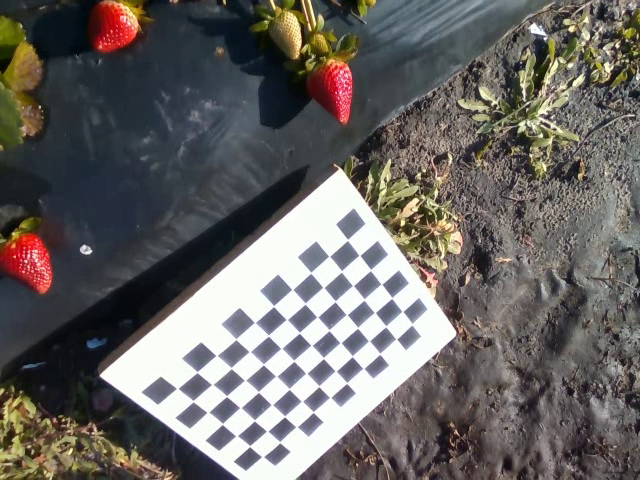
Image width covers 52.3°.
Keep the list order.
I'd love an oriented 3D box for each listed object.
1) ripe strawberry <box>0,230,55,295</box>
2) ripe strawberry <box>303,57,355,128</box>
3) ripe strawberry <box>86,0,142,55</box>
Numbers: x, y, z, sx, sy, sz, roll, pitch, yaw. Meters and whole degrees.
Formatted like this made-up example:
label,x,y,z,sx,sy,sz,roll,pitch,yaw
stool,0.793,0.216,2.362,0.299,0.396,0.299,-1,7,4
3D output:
label,x,y,z,sx,sy,sz,roll,pitch,yaw
ripe strawberry,-0.221,0.021,0.493,0.045,0.055,0.041,-37,2,-11
ripe strawberry,0.009,-0.113,0.503,0.042,0.059,0.042,-24,20,-19
ripe strawberry,-0.143,-0.146,0.447,0.035,0.047,0.035,51,-13,-33
